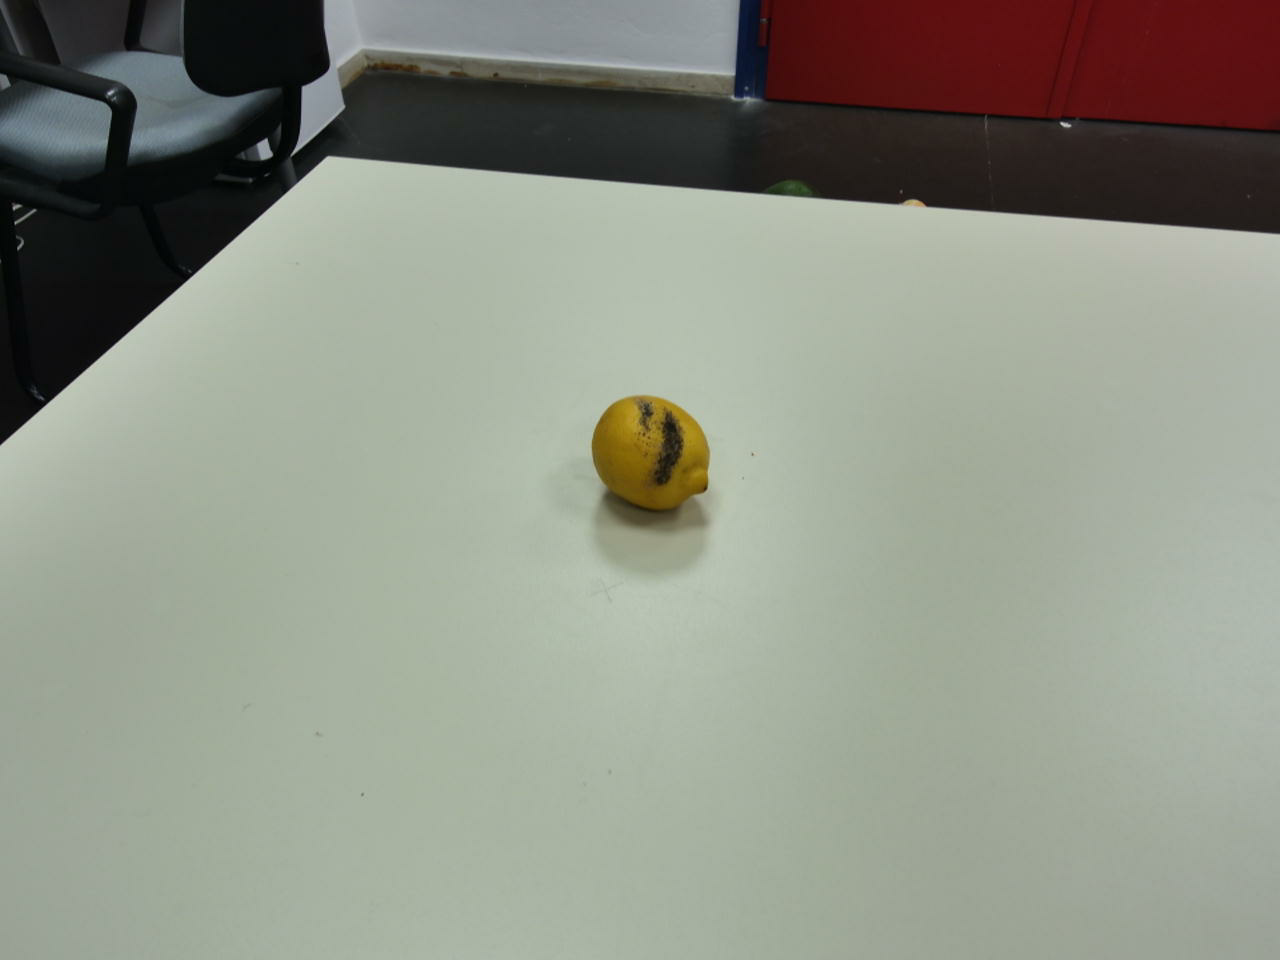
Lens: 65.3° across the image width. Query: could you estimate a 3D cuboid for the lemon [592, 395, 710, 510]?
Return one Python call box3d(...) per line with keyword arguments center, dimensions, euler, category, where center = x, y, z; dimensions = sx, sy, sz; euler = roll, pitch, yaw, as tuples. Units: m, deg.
box3d(center=(0.006, -0.014, 0.518), dimensions=(0.061, 0.056, 0.058), euler=(2, 39, 4), category="lemon")
